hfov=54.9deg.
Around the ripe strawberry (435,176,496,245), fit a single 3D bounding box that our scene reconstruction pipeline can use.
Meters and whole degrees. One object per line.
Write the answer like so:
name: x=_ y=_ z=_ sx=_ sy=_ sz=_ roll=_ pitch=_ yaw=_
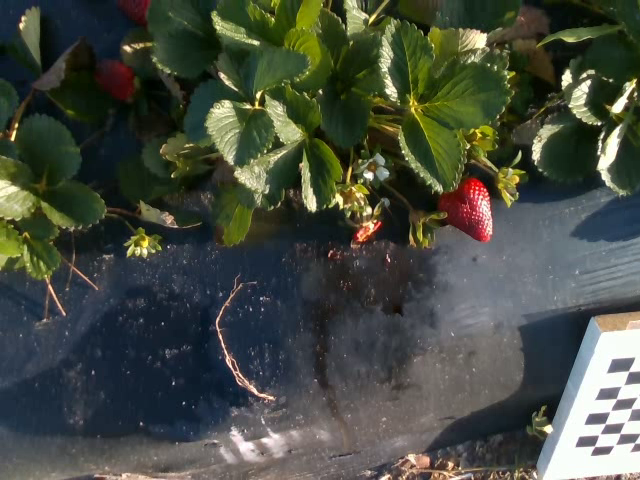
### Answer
ripe strawberry: x=0.126 y=-0.020 z=0.507 sx=0.052 sy=0.052 sz=0.041 roll=-30 pitch=-21 yaw=17
